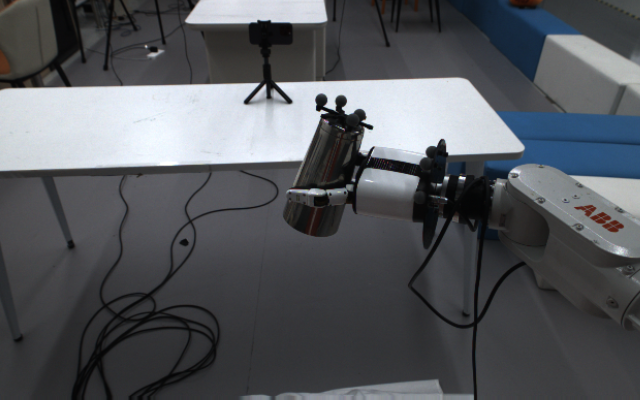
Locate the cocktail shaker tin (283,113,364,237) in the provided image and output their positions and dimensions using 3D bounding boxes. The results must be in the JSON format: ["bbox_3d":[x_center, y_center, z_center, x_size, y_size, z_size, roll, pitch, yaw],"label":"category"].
[{"bbox_3d":[0.010,-0.043,0.732,0.093,0.170,0.093,15,27,-8],"label":"cocktail shaker tin"}]
